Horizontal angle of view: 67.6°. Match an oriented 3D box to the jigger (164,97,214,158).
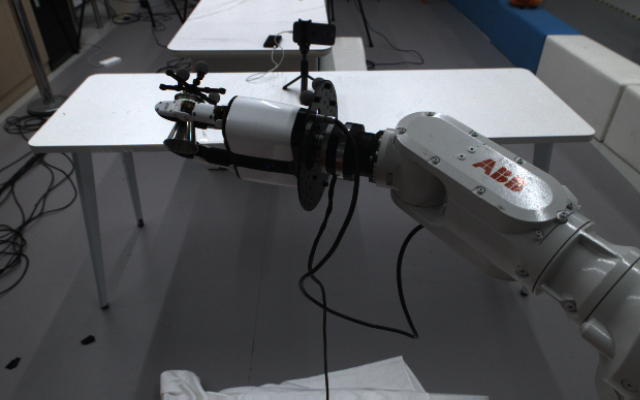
[{"bbox_3d":[-0.175,-0.099,0.629,0.043,0.043,0.071,4,71,3],"label":"jigger"}]
